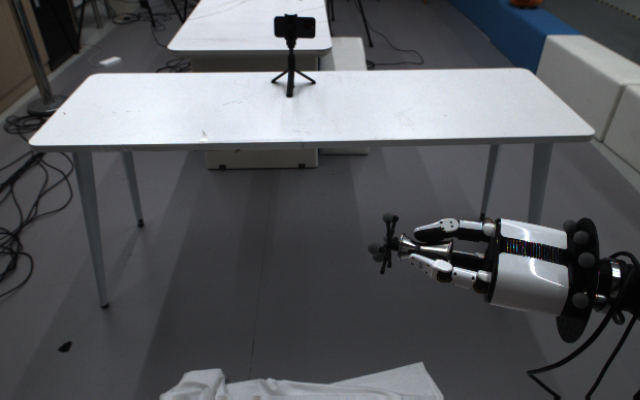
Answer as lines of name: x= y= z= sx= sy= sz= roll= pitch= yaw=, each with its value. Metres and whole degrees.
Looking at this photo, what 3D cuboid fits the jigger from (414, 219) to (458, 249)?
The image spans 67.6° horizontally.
jigger: x=0.153 y=0.063 z=0.667 sx=0.071 sy=0.043 sz=0.043 roll=7 pitch=34 yaw=21
